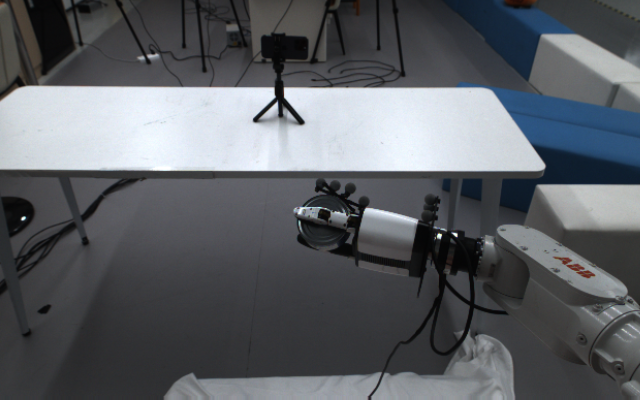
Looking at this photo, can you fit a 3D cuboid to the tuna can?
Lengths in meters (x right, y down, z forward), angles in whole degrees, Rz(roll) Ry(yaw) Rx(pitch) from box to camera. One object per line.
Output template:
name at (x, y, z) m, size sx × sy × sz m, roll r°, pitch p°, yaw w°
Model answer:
tuna can at (0.010, 0.034, 0.769) m, size 0.085 × 0.034 × 0.085 m, roll -4°, pitch 67°, yaw 10°
